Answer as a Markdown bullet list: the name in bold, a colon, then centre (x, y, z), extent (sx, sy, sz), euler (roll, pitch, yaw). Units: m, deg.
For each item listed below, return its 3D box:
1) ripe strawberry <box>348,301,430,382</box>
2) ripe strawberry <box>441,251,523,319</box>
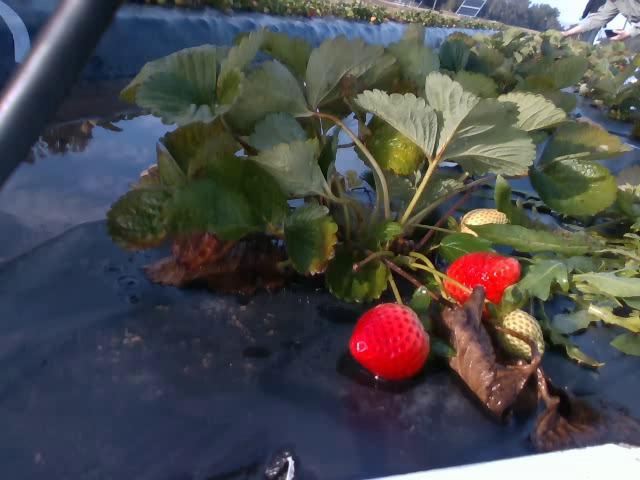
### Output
- **ripe strawberry**: centre (0.025, 0.040, 0.244), extent (0.035, 0.030, 0.043), euler (16, 20, 38)
- **ripe strawberry**: centre (0.086, 0.016, 0.308), extent (0.039, 0.032, 0.049), euler (-8, -21, -25)
